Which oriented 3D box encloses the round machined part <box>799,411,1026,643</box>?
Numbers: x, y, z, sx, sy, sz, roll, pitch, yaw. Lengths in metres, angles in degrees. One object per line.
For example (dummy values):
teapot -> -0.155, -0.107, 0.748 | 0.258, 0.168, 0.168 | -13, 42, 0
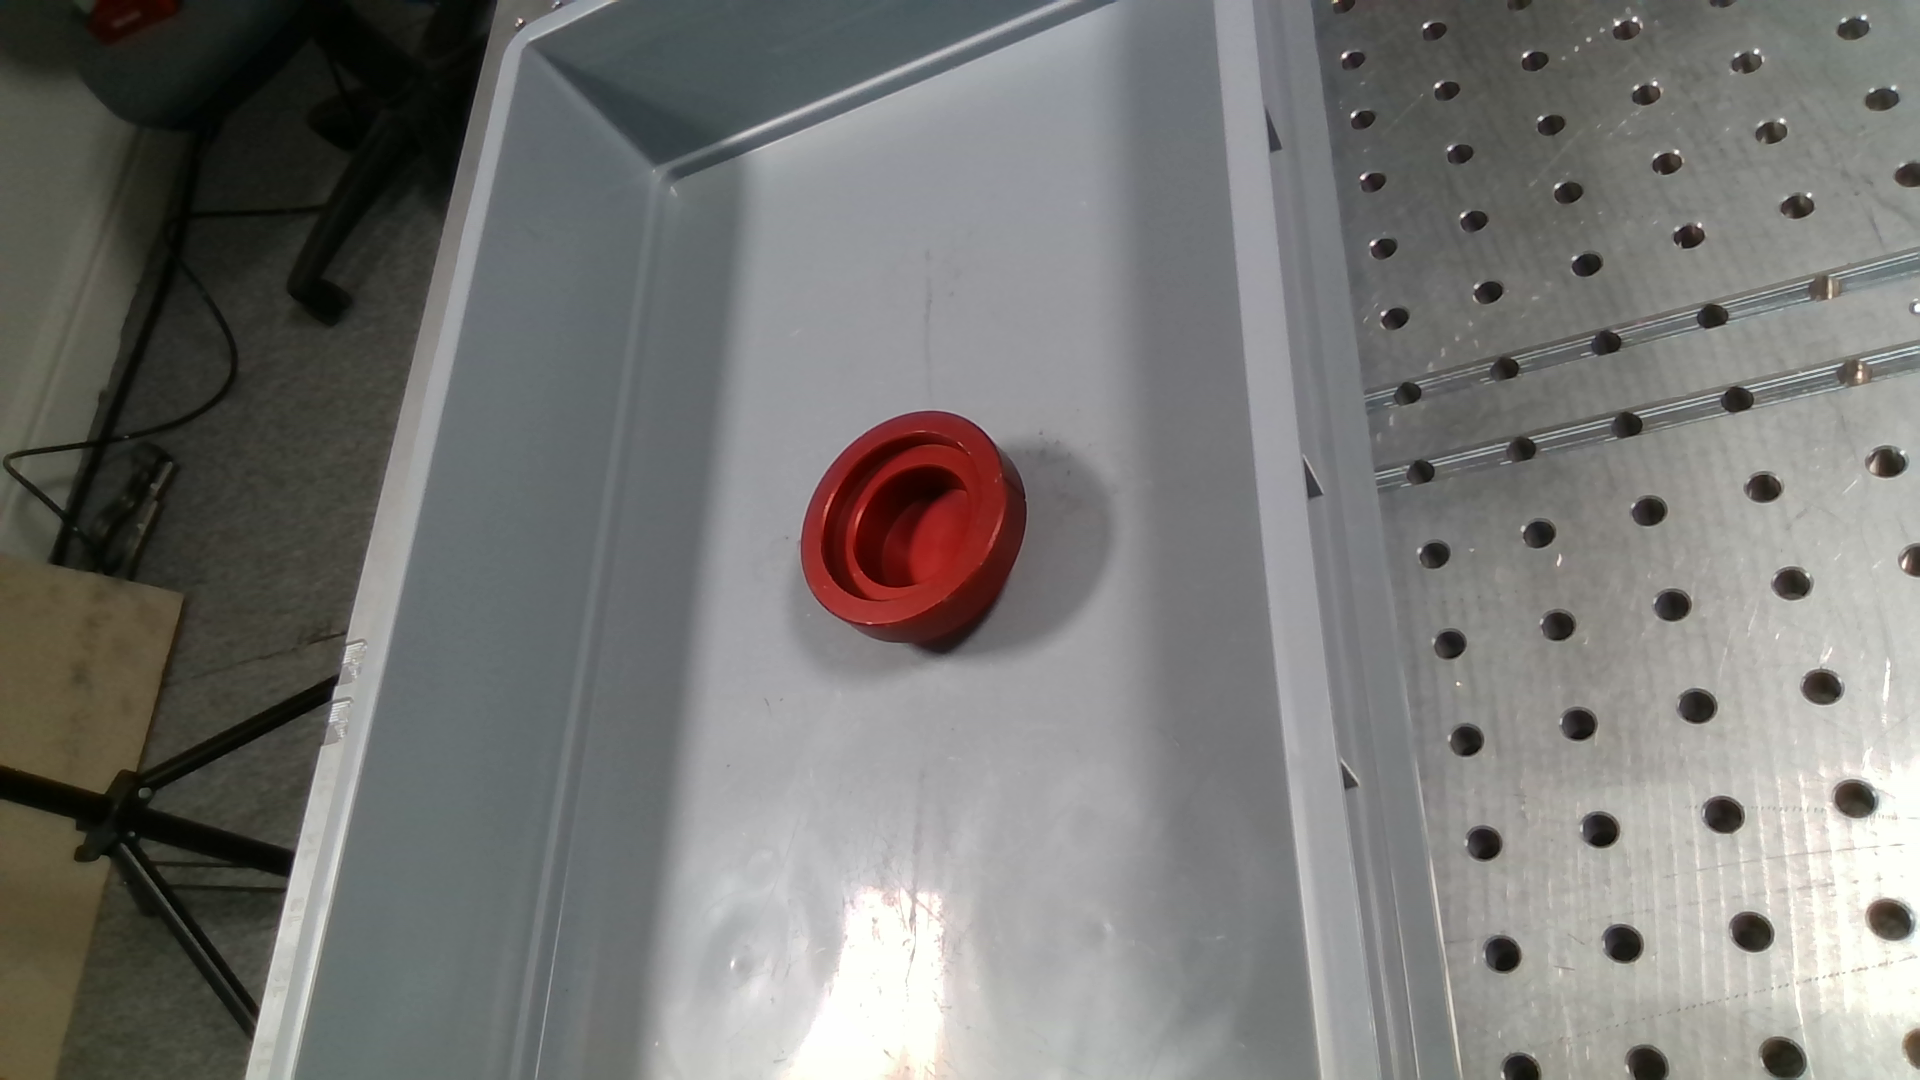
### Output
round machined part -> -0.016, -0.002, 0.581 | 0.098, 0.042, 0.098 | -14, 59, 25
